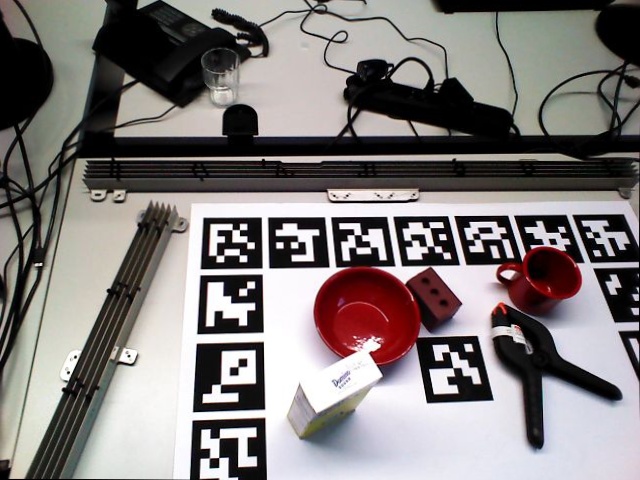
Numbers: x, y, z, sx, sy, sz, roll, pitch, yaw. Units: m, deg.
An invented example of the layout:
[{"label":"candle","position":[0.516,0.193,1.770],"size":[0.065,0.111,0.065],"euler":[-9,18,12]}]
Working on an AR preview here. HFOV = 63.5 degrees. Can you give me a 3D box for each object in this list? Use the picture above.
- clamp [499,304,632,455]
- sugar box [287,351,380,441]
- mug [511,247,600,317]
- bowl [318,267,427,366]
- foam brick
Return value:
[{"label":"clamp","position":[0.332,0.185,0.763],"size":[0.165,0.037,0.202],"euler":[-22,64,-14]},{"label":"sugar box","position":[0.012,0.202,0.654],"size":[0.092,0.177,0.045],"euler":[-22,66,-18]},{"label":"mug","position":[0.360,0.065,0.814],"size":[0.117,0.082,0.092],"euler":[24,60,5]},{"label":"bowl","position":[0.075,0.119,0.778],"size":[0.162,0.055,0.161],"euler":[2,59,-4]},{"label":"foam brick","position":[0.190,0.099,0.808],"size":[0.052,0.051,0.078],"euler":[-25,65,-17]}]
